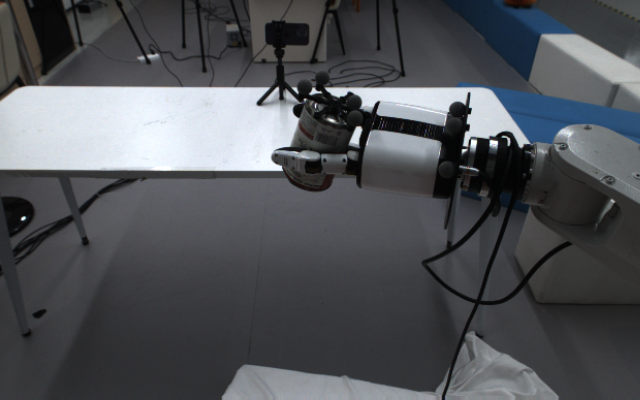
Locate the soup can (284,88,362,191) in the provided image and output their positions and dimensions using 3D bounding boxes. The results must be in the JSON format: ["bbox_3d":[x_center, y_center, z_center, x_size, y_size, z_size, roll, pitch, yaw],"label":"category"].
[{"bbox_3d":[0.000,-0.069,0.594,0.067,0.101,0.067,14,39,-12],"label":"soup can"}]
